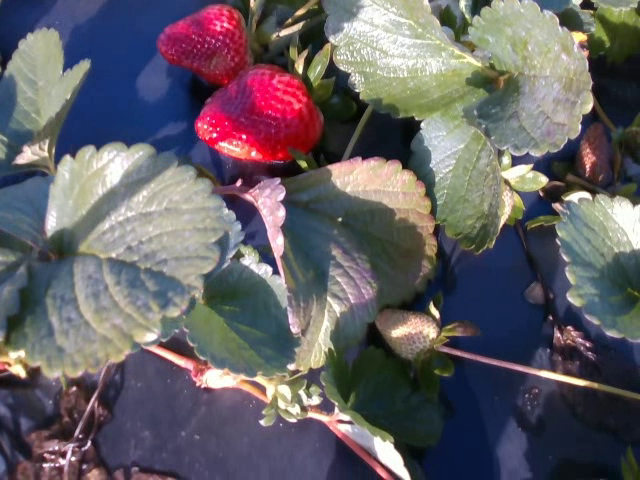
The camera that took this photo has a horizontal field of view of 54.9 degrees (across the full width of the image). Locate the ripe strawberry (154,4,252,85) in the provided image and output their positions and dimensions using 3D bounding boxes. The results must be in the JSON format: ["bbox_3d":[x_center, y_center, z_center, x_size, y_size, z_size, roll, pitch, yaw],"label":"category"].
[{"bbox_3d":[-0.055,-0.092,0.283,0.051,0.037,0.043,-33,32,-33],"label":"ripe strawberry"}]

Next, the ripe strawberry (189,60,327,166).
[{"bbox_3d":[-0.028,-0.051,0.256,0.057,0.046,0.052,-26,36,-29],"label":"ripe strawberry"}]
